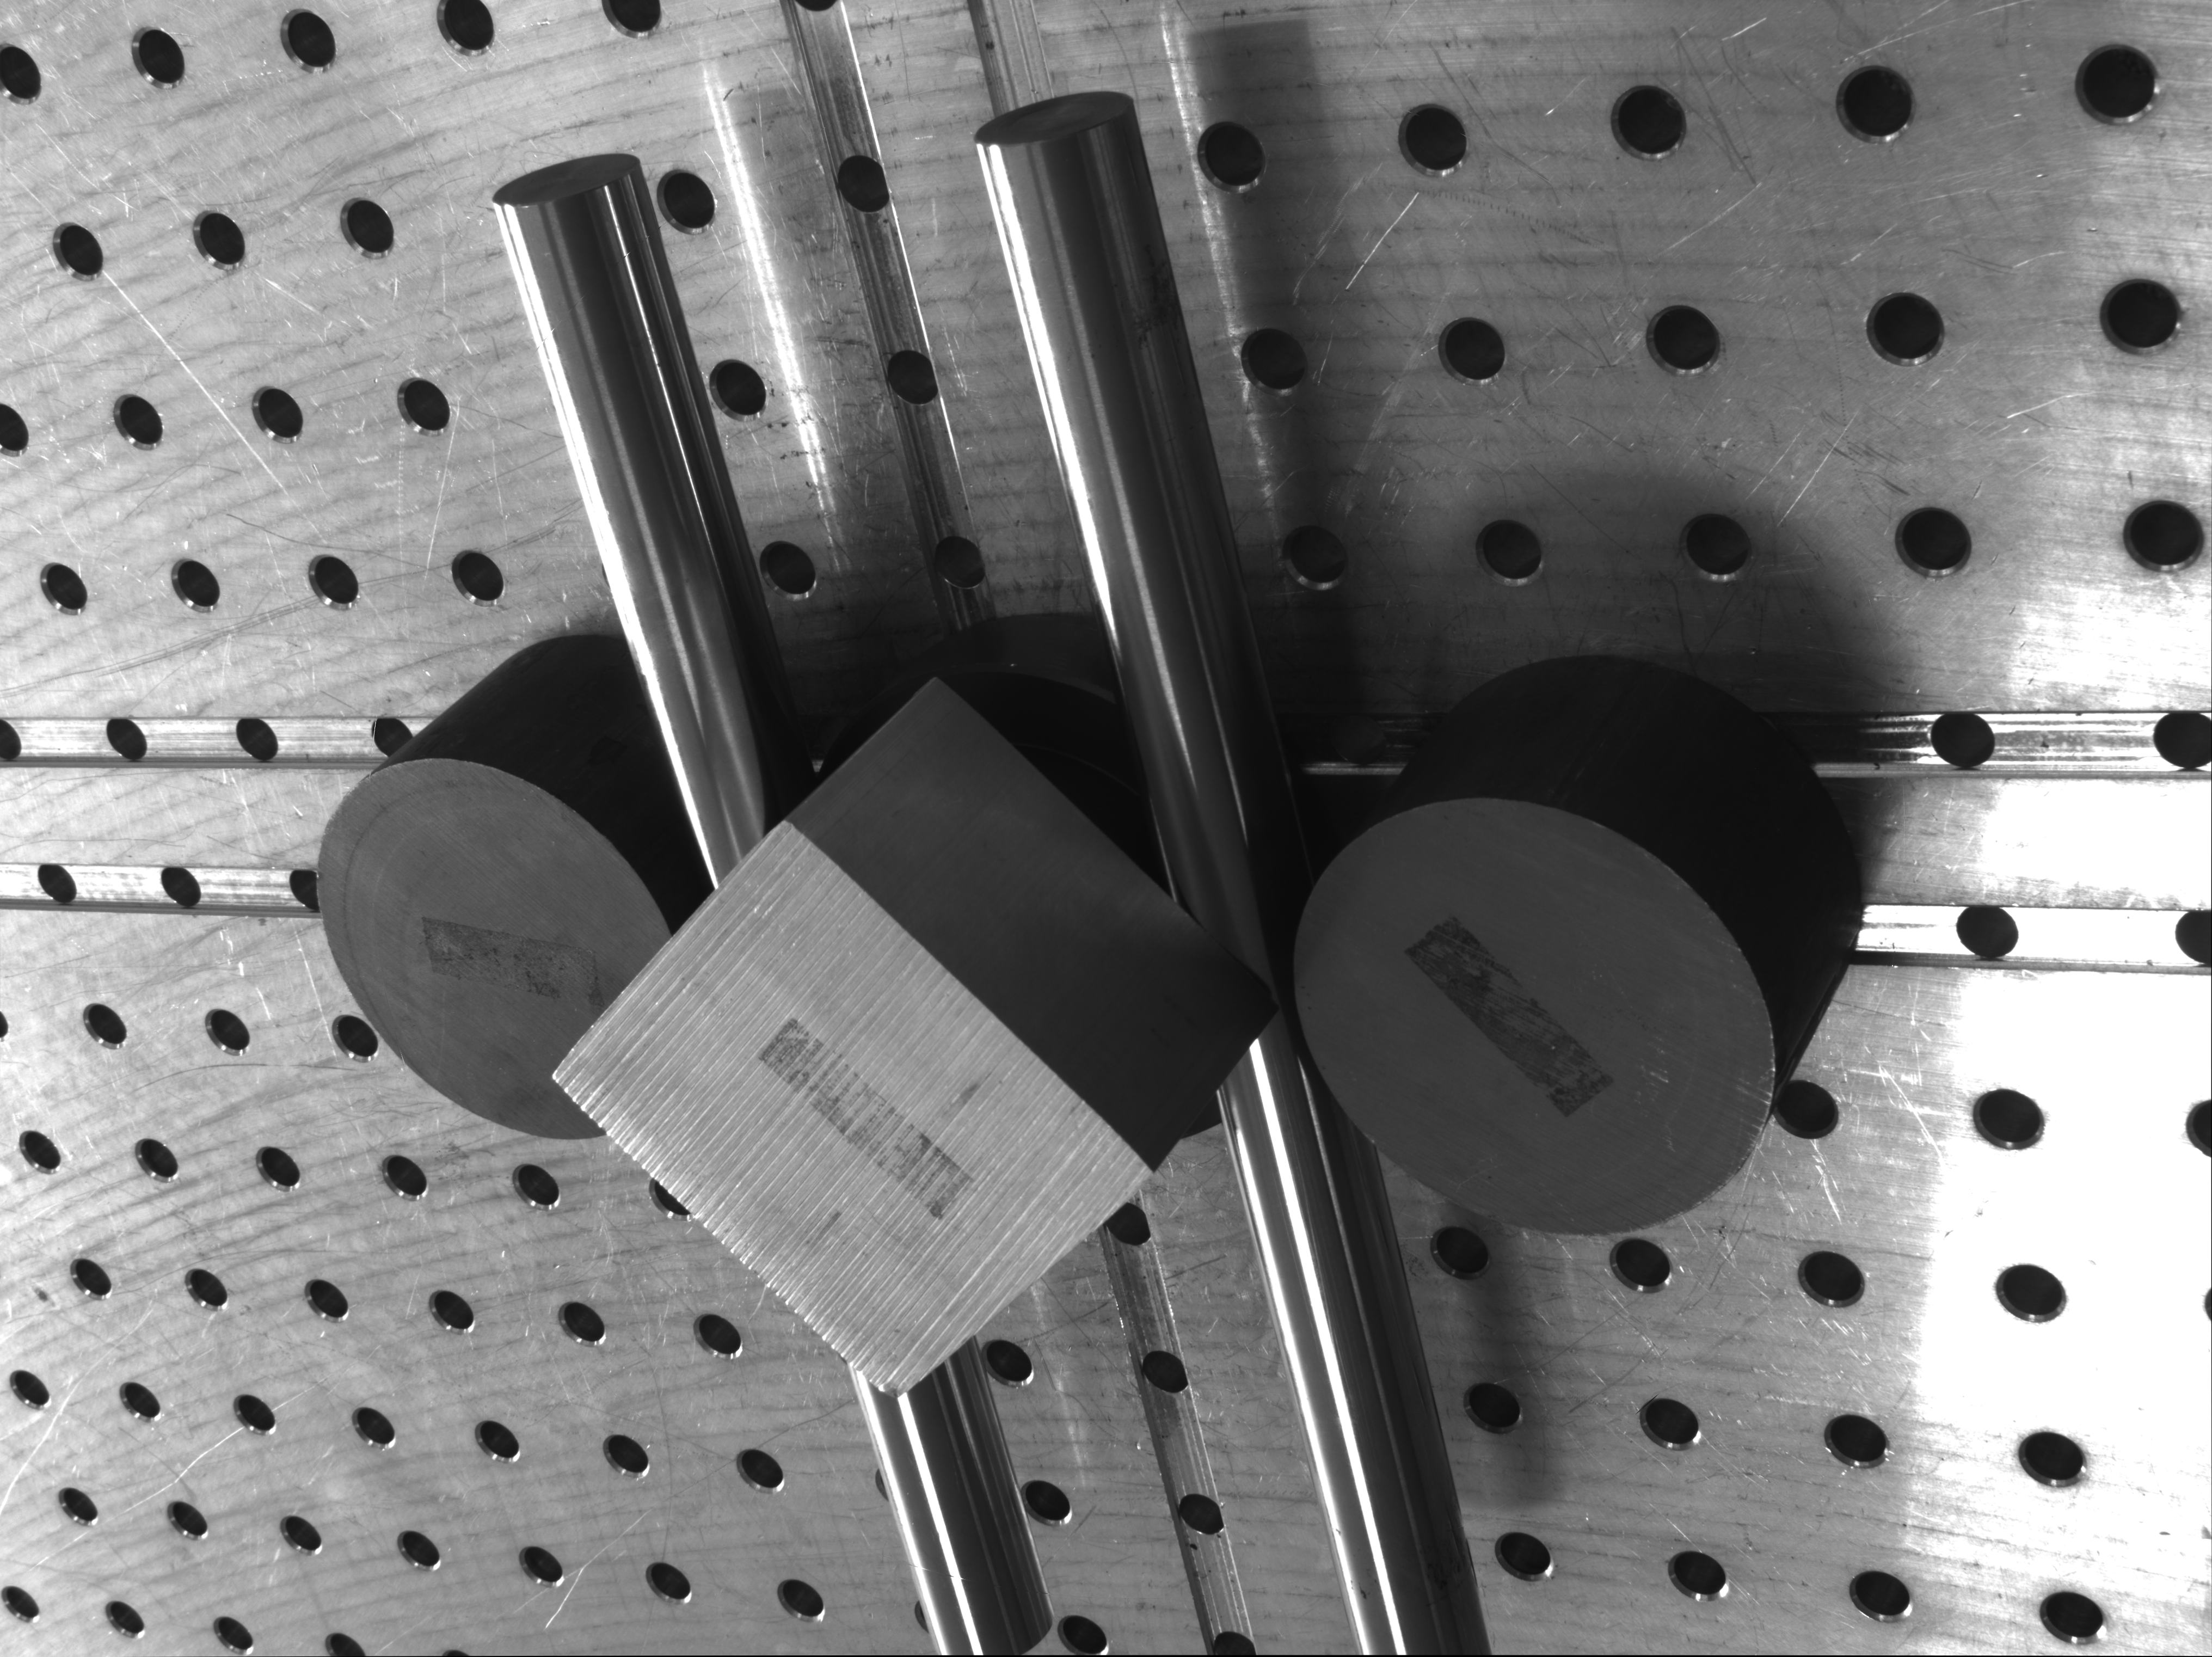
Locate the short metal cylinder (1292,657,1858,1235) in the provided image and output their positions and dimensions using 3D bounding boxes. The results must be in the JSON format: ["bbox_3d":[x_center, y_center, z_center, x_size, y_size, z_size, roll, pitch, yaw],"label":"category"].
[{"bbox_3d":[0.077,0.019,0.599,0.080,0.050,0.080,13,124,21],"label":"short metal cylinder"}]

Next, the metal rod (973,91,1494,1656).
[{"bbox_3d":[0.026,0.024,0.619,0.025,0.025,0.300,0,118,28],"label":"metal rod"}]

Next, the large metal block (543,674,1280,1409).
[{"bbox_3d":[-0.033,0.036,0.608,0.080,0.050,0.080,44,129,-2],"label":"large metal block"}]

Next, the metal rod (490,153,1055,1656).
[{"bbox_3d":[-0.056,0.026,0.664,0.025,0.025,0.300,0,118,28],"label":"metal rod"}]

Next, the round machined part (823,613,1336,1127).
[{"bbox_3d":[-0.010,0.015,0.650,0.098,0.042,0.098,13,124,21],"label":"round machined part"}]

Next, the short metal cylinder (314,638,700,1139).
[{"bbox_3d":[-0.101,0.011,0.690,0.080,0.050,0.080,13,124,21],"label":"short metal cylinder"}]
